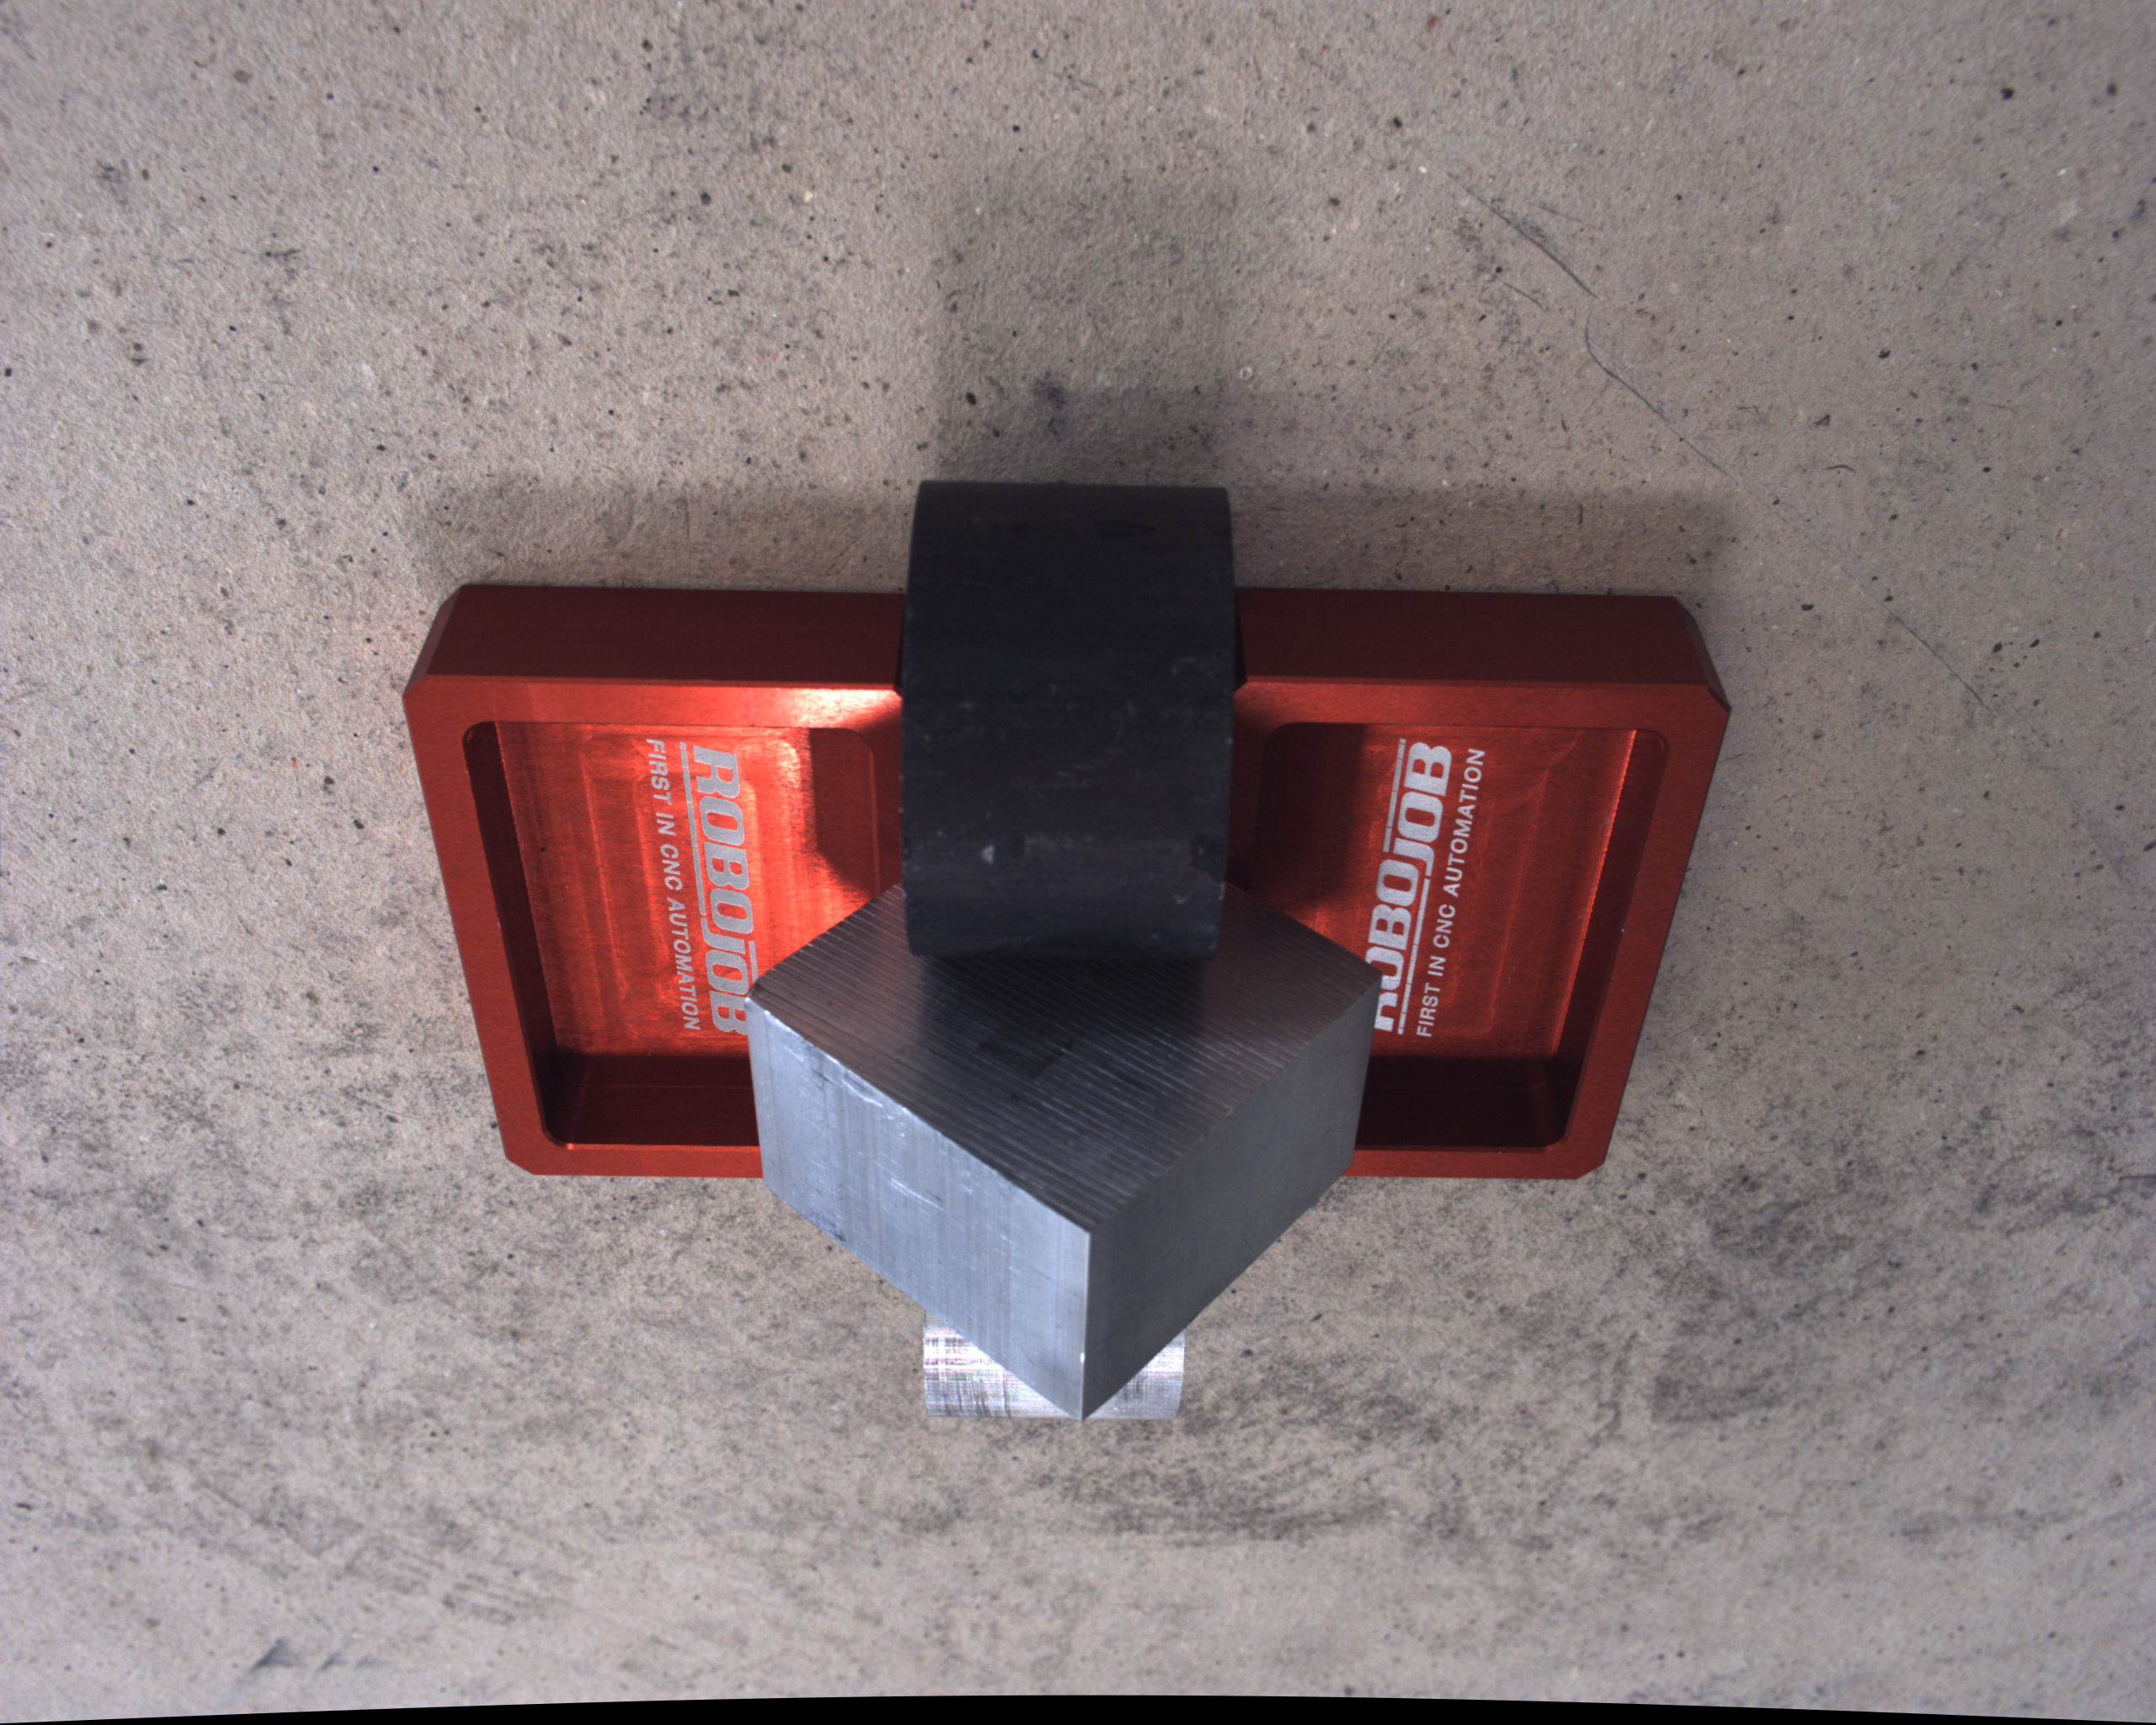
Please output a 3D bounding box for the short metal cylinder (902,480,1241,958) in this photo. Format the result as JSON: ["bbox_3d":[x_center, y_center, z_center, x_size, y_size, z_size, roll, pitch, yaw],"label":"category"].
[{"bbox_3d":[-0.002,-0.024,0.352,0.050,0.080,0.079,2,130,-2],"label":"short metal cylinder"}]

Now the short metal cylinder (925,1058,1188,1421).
[{"bbox_3d":[-0.005,0.075,0.436,0.050,0.080,0.079,2,130,-2],"label":"short metal cylinder"}]

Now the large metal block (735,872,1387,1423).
[{"bbox_3d":[-0.003,0.039,0.379,0.080,0.080,0.050,30,138,28],"label":"large metal block"}]

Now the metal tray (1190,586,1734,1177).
[{"bbox_3d":[0.068,0.008,0.414,0.091,0.030,0.129,1,130,-1],"label":"metal tray"}]

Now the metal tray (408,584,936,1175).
[{"bbox_3d":[-0.073,0.008,0.412,0.091,0.030,0.129,1,130,-1],"label":"metal tray"}]
